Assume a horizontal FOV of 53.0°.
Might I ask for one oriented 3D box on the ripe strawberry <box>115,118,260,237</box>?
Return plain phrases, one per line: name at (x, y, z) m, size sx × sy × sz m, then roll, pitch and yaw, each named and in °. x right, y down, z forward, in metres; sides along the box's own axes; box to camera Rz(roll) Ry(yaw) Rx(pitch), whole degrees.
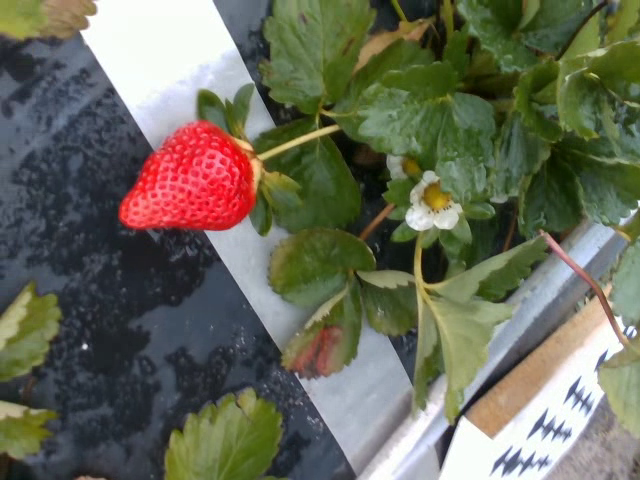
ripe strawberry at (-0.045, -0.018, 0.209) m, size 0.051 × 0.041 × 0.038 m, roll -30°, pitch 54°, yaw -33°
